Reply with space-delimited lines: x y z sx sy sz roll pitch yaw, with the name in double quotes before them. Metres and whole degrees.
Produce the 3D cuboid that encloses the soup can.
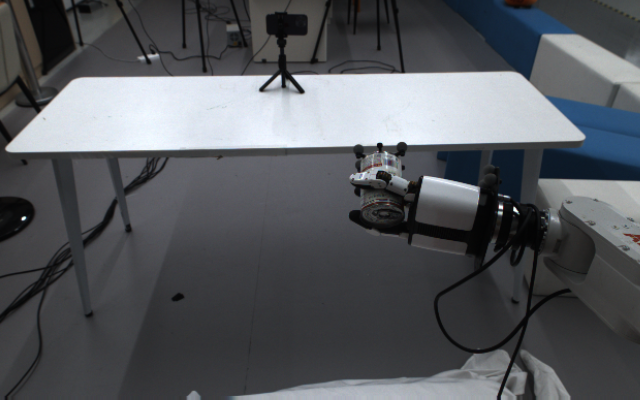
"soup can" 0.096 -0.017 0.749 0.067 0.067 0.101 3 57 1
